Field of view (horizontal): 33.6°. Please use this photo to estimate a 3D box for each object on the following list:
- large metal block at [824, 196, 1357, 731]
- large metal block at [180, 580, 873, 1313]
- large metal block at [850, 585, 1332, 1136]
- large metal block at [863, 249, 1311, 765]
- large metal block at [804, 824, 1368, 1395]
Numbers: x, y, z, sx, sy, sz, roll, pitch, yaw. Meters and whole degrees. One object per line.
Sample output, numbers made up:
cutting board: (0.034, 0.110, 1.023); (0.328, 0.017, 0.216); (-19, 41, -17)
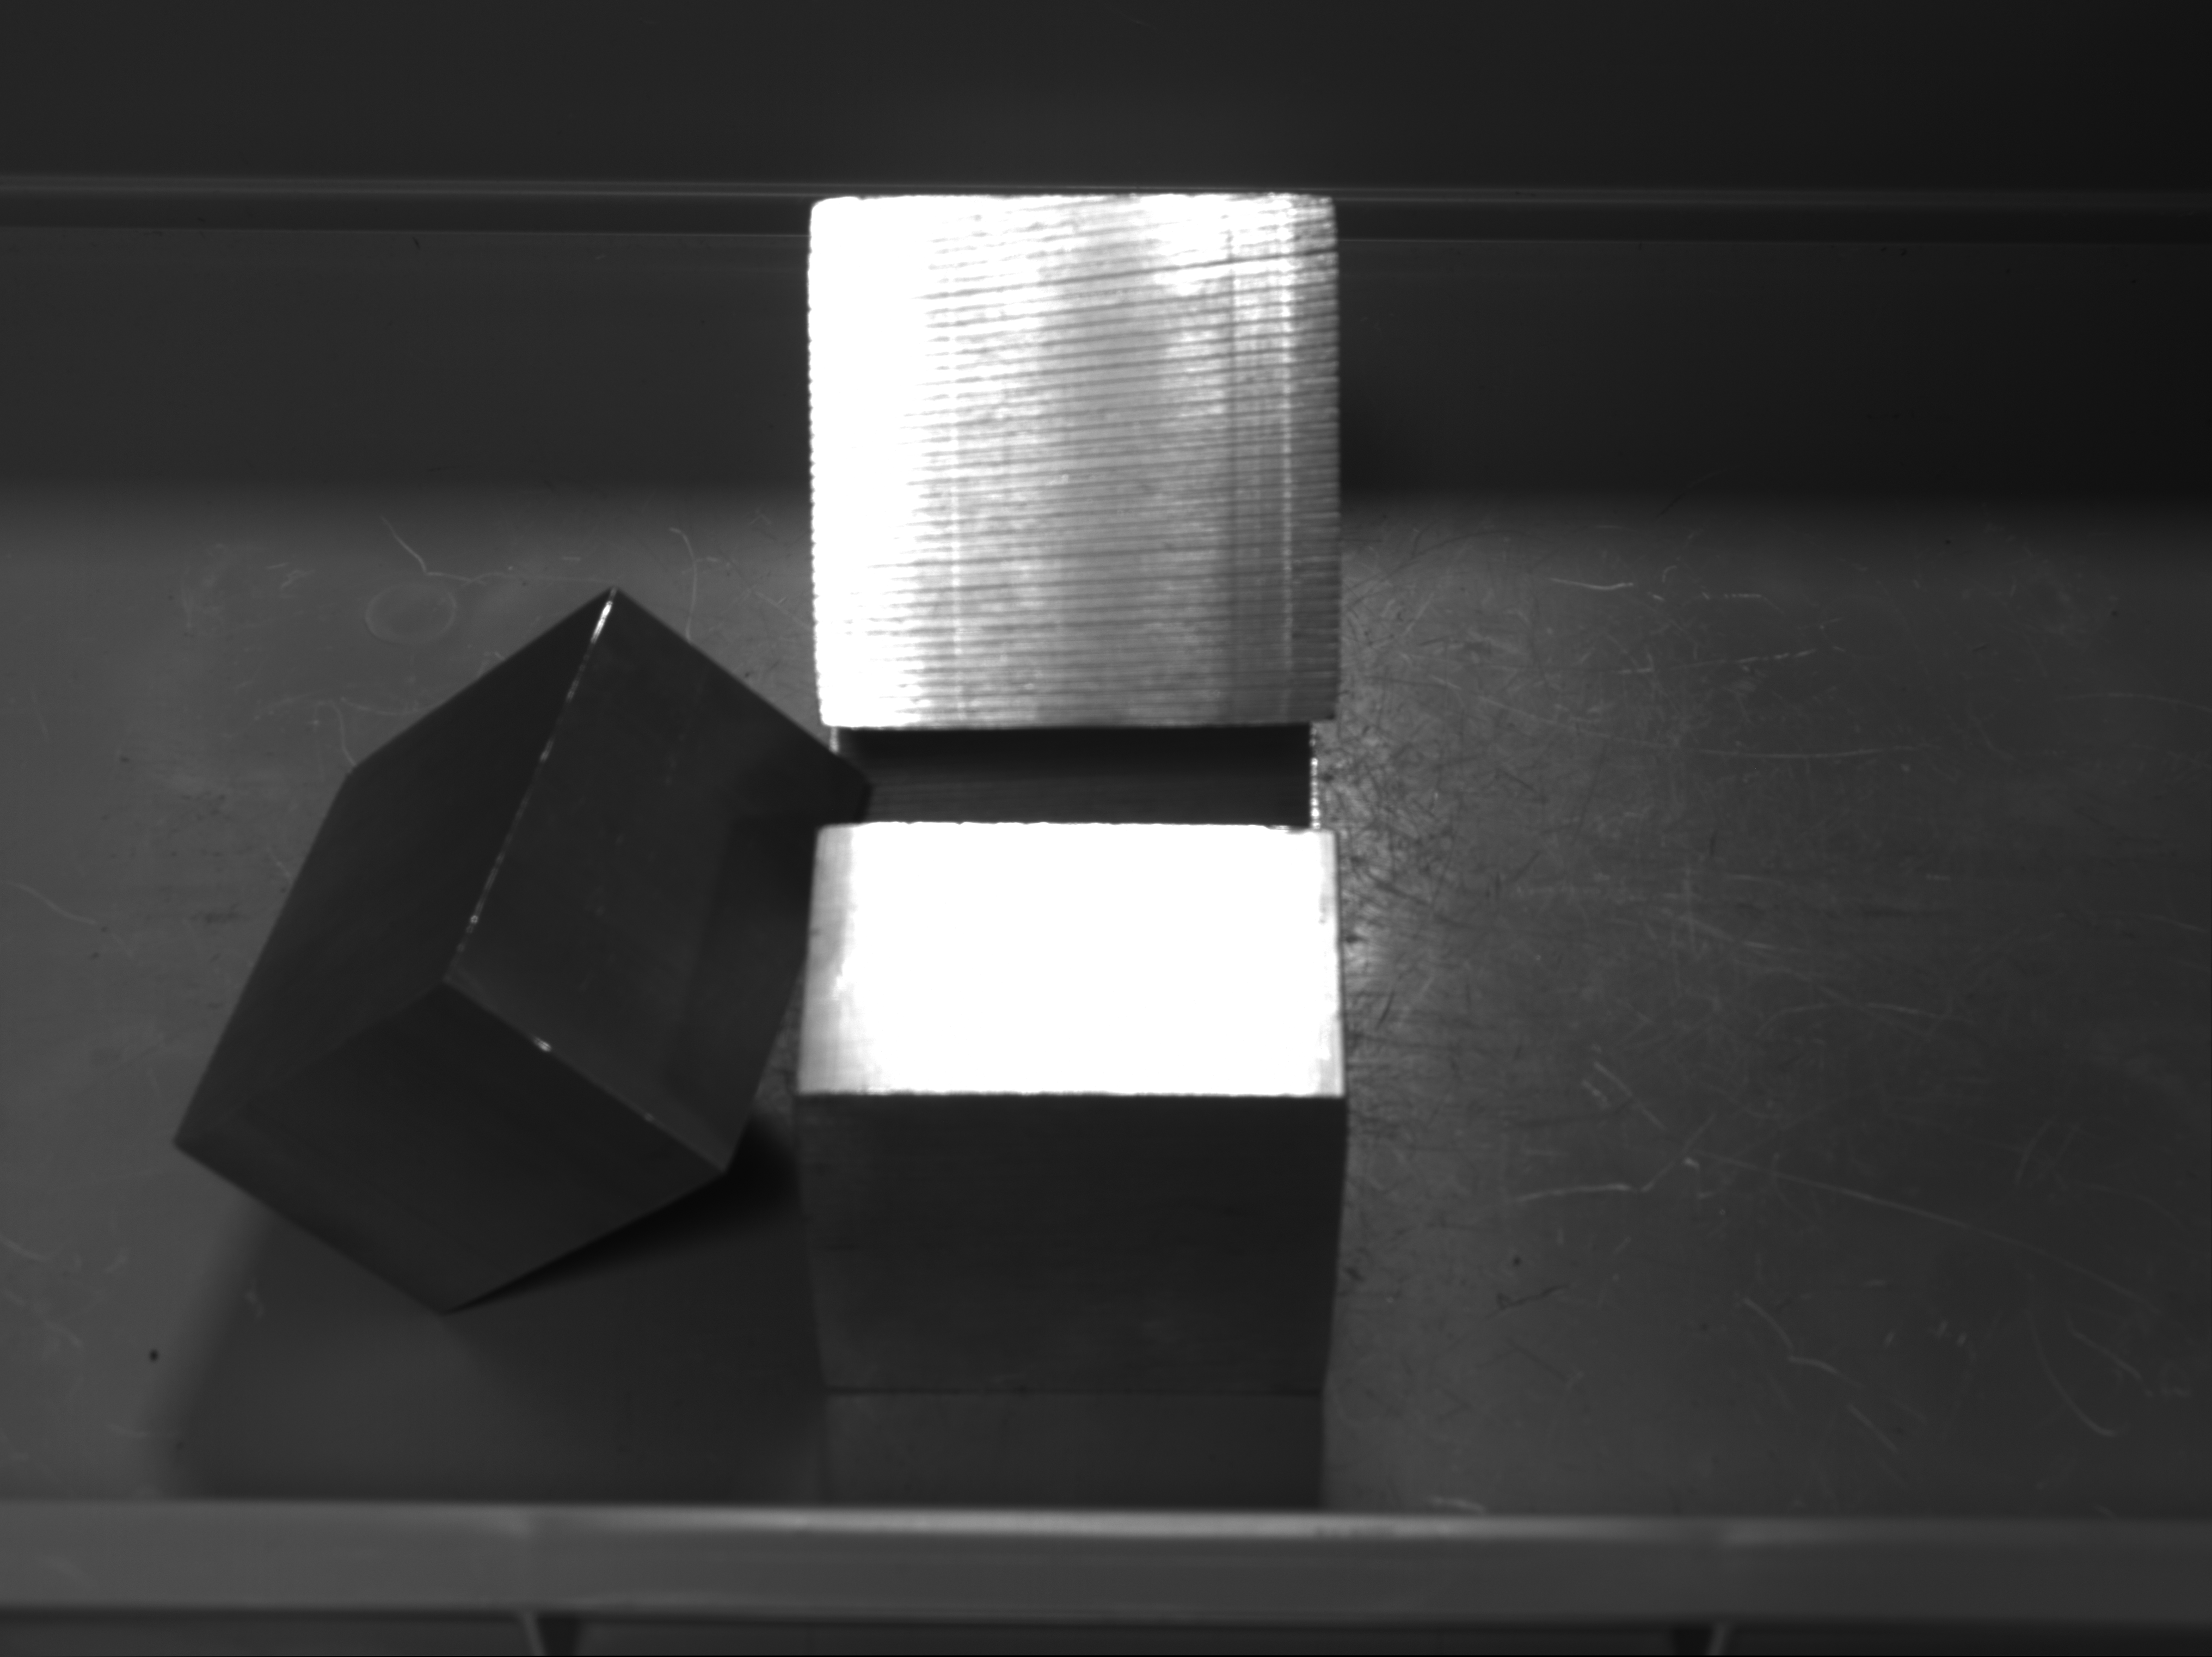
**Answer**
large metal block: (-0.002, -0.057, 0.579); (0.080, 0.080, 0.050); (-1, 5, -1)
large metal block: (-0.090, 0.020, 0.577); (0.050, 0.080, 0.080); (38, 47, -25)
large metal block: (-0.004, 0.005, 0.622); (0.080, 0.050, 0.080); (-1, 50, 0)
large metal block: (-0.004, -0.056, 0.651); (0.080, 0.080, 0.050); (-1, 50, -1)
large metal block: (-0.002, 0.045, 0.566); (0.080, 0.080, 0.050); (0, 50, 0)
